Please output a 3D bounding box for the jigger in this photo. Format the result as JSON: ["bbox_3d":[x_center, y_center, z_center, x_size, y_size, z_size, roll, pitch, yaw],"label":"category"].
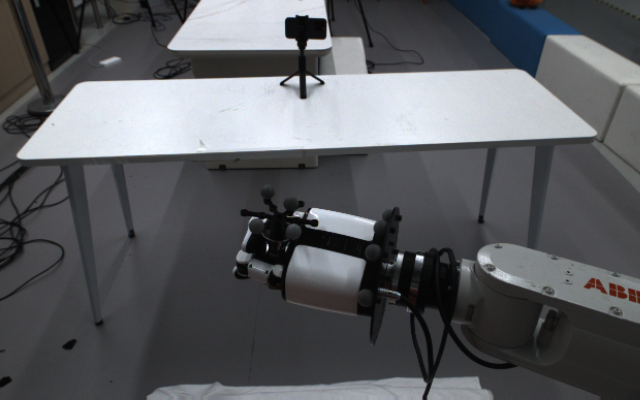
[{"bbox_3d":[-0.050,0.064,0.579,0.043,0.071,0.043,7,32,-4],"label":"jigger"}]
